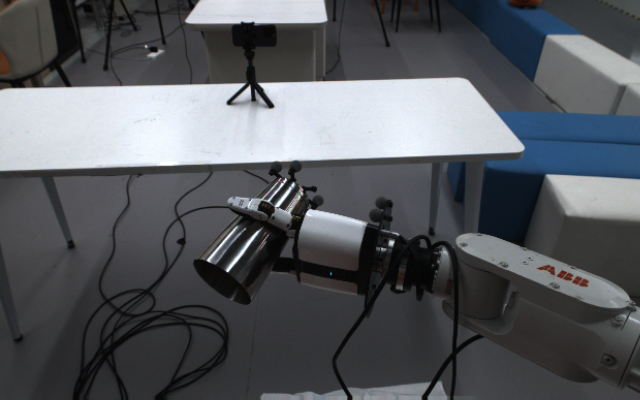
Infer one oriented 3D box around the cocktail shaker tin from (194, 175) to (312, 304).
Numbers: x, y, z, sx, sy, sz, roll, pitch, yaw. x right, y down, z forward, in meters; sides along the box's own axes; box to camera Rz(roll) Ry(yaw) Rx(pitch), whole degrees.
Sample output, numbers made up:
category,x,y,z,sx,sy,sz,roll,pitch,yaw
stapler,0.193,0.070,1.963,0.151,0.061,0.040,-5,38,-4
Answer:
category,x,y,z,sx,sy,sz,roll,pitch,yaw
cocktail shaker tin,-0.083,0.045,0.668,0.093,0.093,0.170,19,55,22
